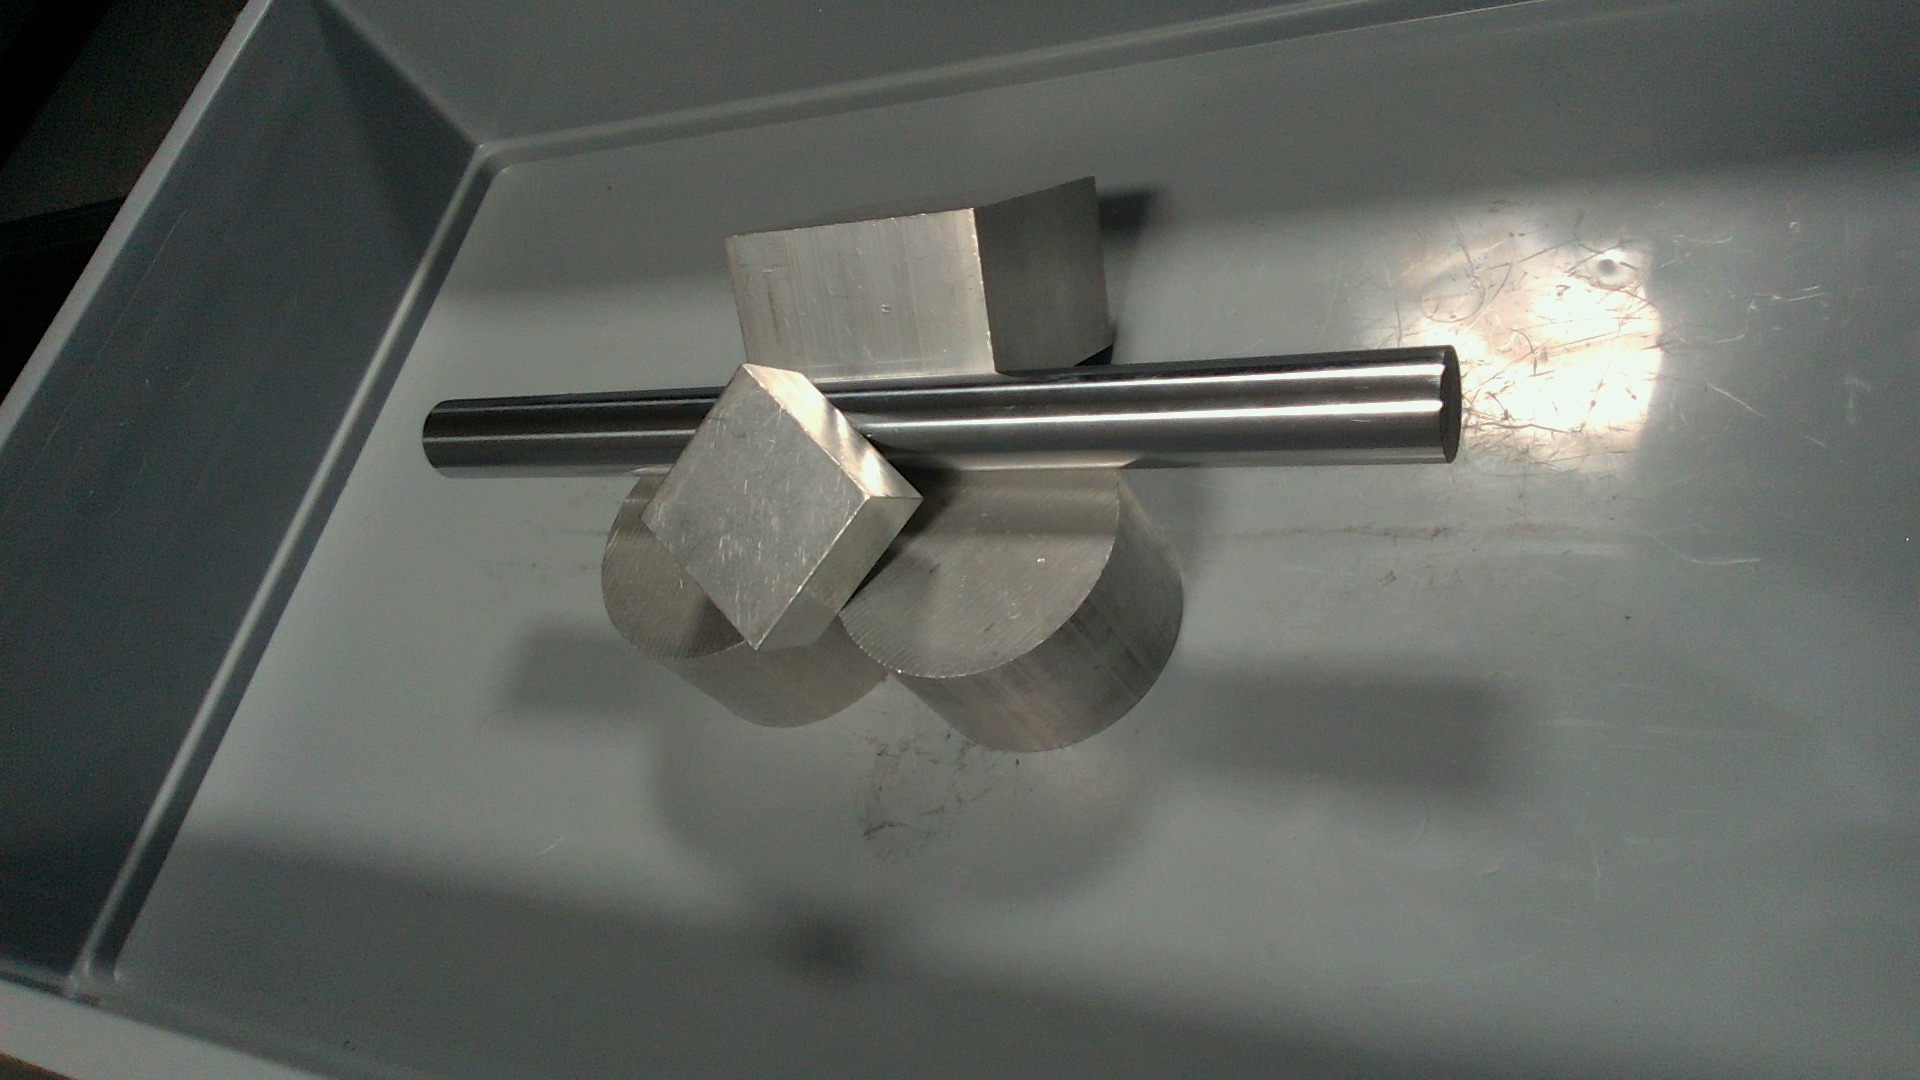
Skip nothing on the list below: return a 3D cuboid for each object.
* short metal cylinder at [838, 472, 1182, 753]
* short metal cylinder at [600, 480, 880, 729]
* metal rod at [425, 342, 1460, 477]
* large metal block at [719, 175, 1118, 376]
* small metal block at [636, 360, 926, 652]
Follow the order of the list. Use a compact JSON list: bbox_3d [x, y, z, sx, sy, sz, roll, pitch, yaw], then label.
[{"bbox_3d":[0.013,0.010,0.364,0.080,0.050,0.080,-14,56,21],"label":"short metal cylinder"},{"bbox_3d":[-0.057,0.008,0.402,0.080,0.050,0.080,-14,56,21],"label":"short metal cylinder"},{"bbox_3d":[-0.027,-0.030,0.361,0.299,0.025,0.025,1,62,29],"label":"metal rod"},{"bbox_3d":[-0.009,-0.072,0.399,0.080,0.050,0.080,1,19,29],"label":"large metal block"},{"bbox_3d":[-0.045,-0.008,0.343,0.050,0.025,0.050,45,110,21],"label":"small metal block"}]
